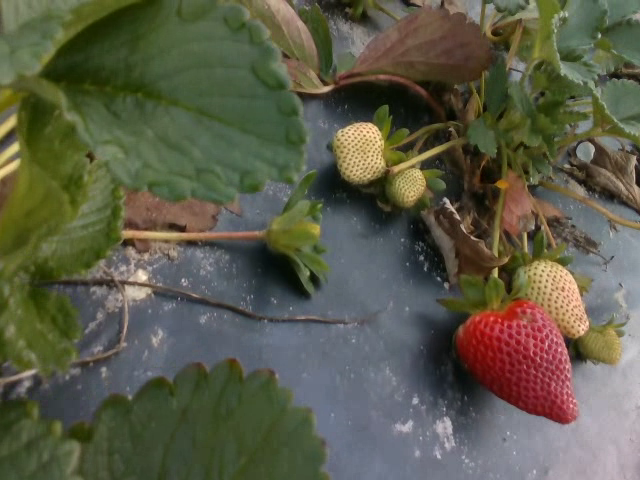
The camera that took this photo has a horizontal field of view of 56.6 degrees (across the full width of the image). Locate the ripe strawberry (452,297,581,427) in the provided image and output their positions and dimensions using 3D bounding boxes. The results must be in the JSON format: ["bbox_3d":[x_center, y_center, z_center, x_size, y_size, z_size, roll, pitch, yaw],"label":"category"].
[{"bbox_3d":[0.084,0.049,0.238,0.050,0.059,0.033,-11,-37,-36],"label":"ripe strawberry"}]
